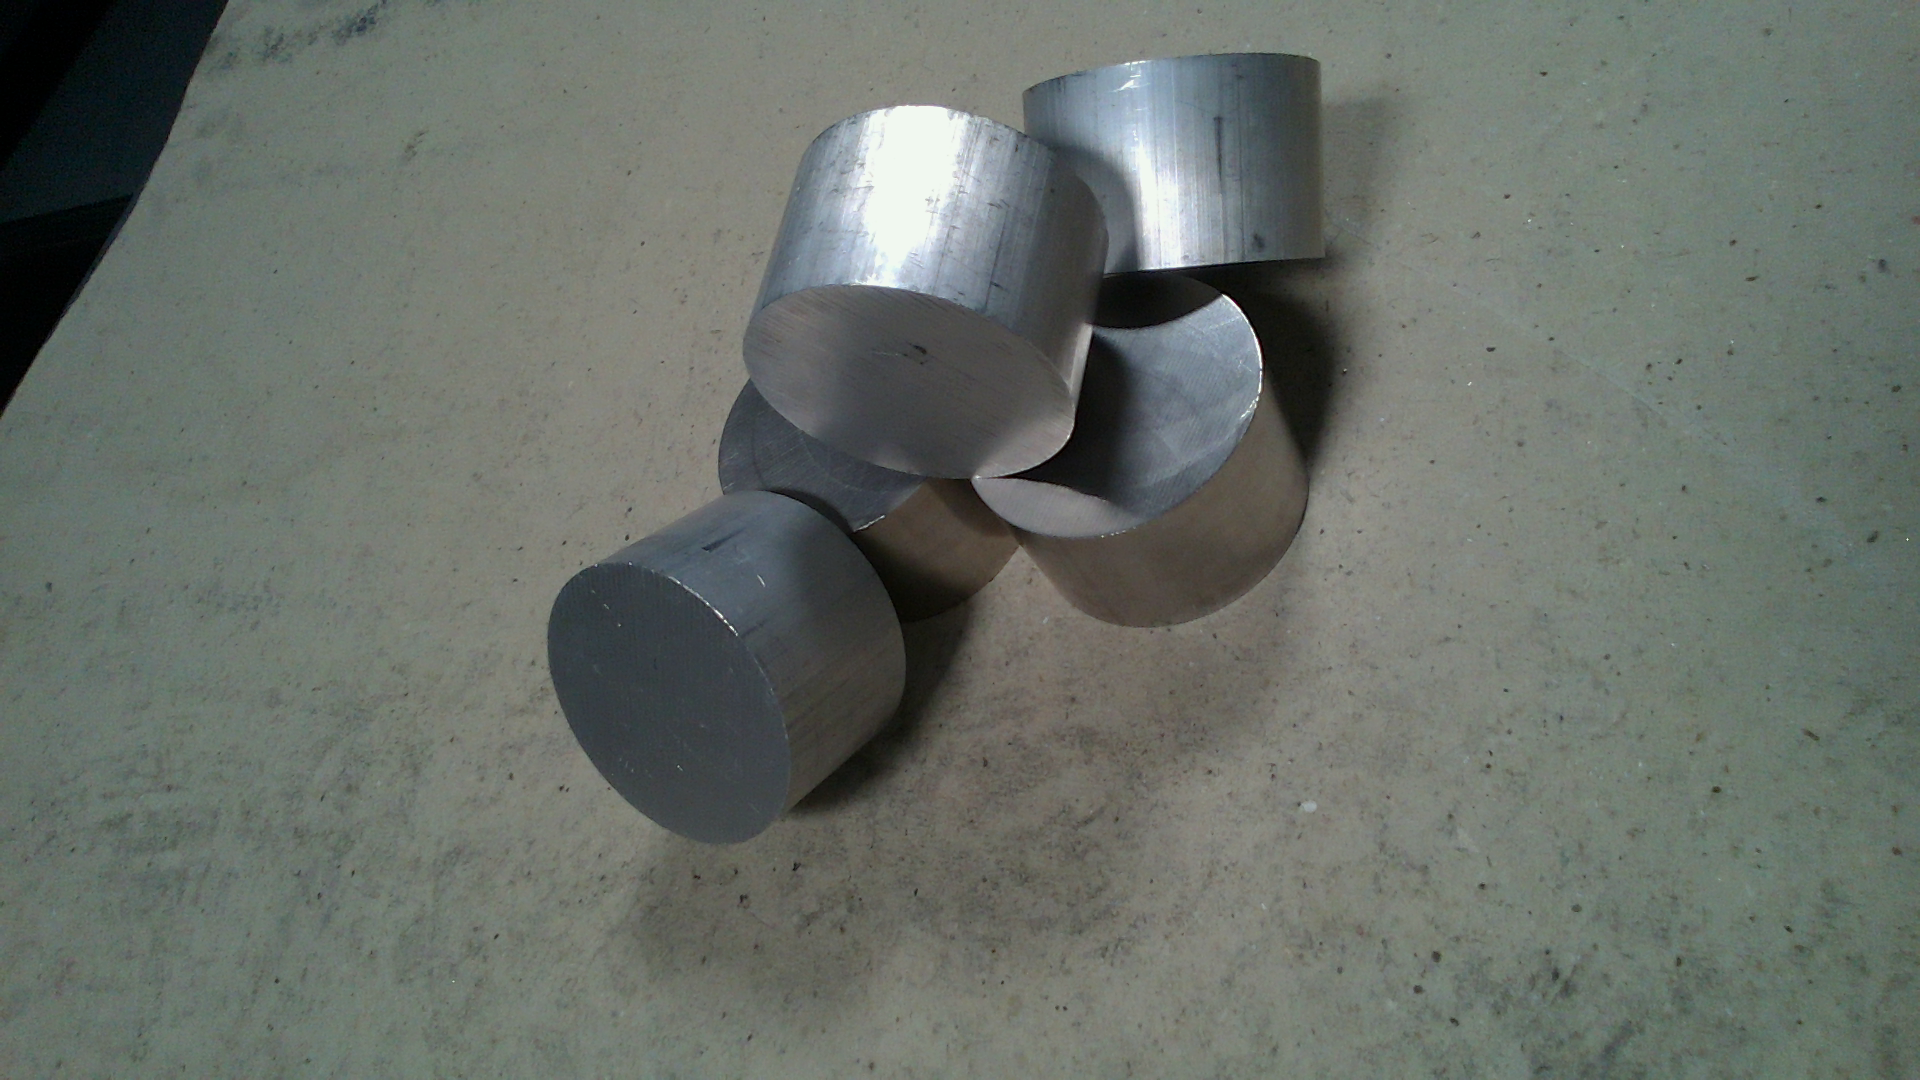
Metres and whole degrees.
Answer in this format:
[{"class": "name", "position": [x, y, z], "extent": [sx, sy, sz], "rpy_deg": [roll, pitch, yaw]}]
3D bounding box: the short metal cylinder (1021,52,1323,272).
[{"class": "short metal cylinder", "position": [0.058, -0.100, 0.379], "extent": [0.080, 0.080, 0.050], "rpy_deg": [0, 100, 29]}]

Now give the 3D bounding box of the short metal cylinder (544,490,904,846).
[{"class": "short metal cylinder", "position": [-0.062, 0.033, 0.363], "extent": [0.080, 0.080, 0.050], "rpy_deg": [7, 26, 32]}]

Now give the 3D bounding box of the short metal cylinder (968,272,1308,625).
[{"class": "short metal cylinder", "position": [0.047, -0.024, 0.367], "extent": [0.080, 0.050, 0.080], "rpy_deg": [-14, 56, 21]}]

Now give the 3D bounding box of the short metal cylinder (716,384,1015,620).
[{"class": "short metal cylinder", "position": [-0.024, -0.023, 0.404], "extent": [0.080, 0.050, 0.080], "rpy_deg": [-14, 56, 21]}]

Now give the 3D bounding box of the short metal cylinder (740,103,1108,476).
[{"class": "short metal cylinder", "position": [-0.007, -0.057, 0.333], "extent": [0.080, 0.080, 0.050], "rpy_deg": [-2, 61, 28]}]
